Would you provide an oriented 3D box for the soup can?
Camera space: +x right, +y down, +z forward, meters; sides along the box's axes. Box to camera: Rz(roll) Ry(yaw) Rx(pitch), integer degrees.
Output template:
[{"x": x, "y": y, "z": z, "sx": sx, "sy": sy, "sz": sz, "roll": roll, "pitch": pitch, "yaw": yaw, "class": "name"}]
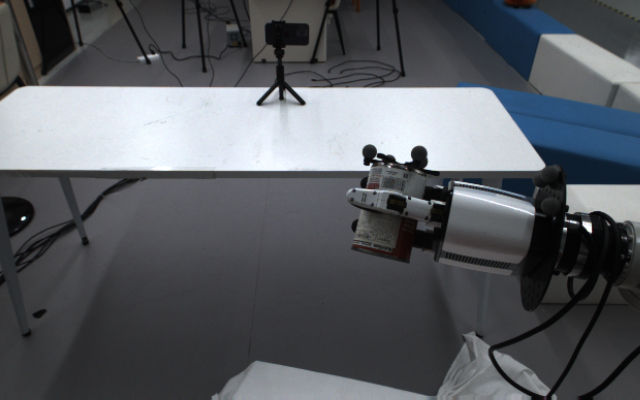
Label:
[{"x": 0.082, "y": 0.015, "z": 0.553, "sx": 0.067, "sy": 0.101, "sz": 0.067, "roll": 14, "pitch": -6, "yaw": 1, "class": "soup can"}]
